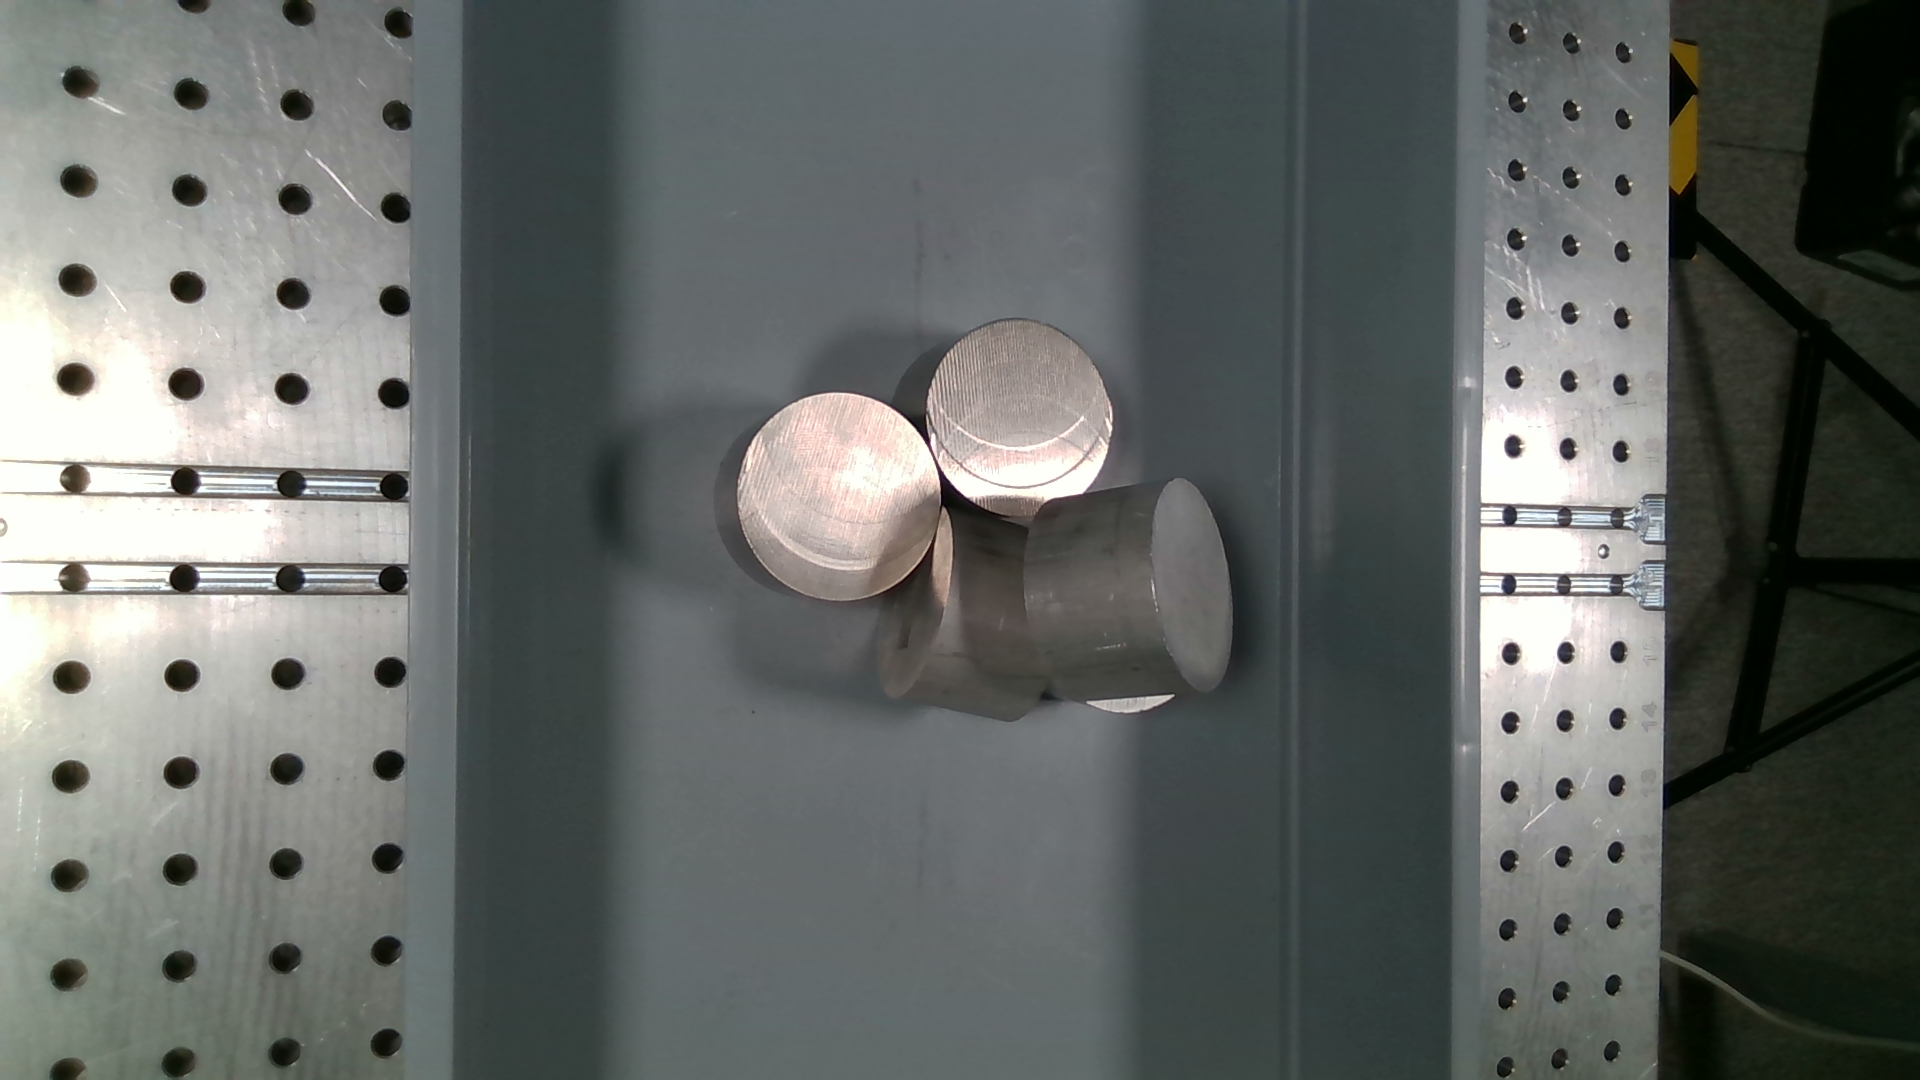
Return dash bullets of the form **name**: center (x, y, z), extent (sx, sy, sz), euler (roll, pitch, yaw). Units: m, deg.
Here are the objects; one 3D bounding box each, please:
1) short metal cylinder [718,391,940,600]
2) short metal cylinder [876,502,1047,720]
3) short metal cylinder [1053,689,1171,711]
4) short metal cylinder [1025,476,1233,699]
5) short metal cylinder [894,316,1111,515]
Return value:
- **short metal cylinder**: center (-0.054, -0.017, 0.551), extent (0.080, 0.050, 0.080), euler (0, 90, -20)
- **short metal cylinder**: center (0.004, 0.029, 0.558), extent (0.050, 0.080, 0.080), euler (14, 85, -20)
- **short metal cylinder**: center (0.061, 0.031, 0.594), extent (0.080, 0.050, 0.080), euler (0, 90, -20)
- **short metal cylinder**: center (0.066, 0.019, 0.521), extent (0.080, 0.050, 0.080), euler (22, 64, -57)
- **short metal cylinder**: center (0.016, -0.050, 0.576), extent (0.080, 0.050, 0.080), euler (0, 90, -20)
